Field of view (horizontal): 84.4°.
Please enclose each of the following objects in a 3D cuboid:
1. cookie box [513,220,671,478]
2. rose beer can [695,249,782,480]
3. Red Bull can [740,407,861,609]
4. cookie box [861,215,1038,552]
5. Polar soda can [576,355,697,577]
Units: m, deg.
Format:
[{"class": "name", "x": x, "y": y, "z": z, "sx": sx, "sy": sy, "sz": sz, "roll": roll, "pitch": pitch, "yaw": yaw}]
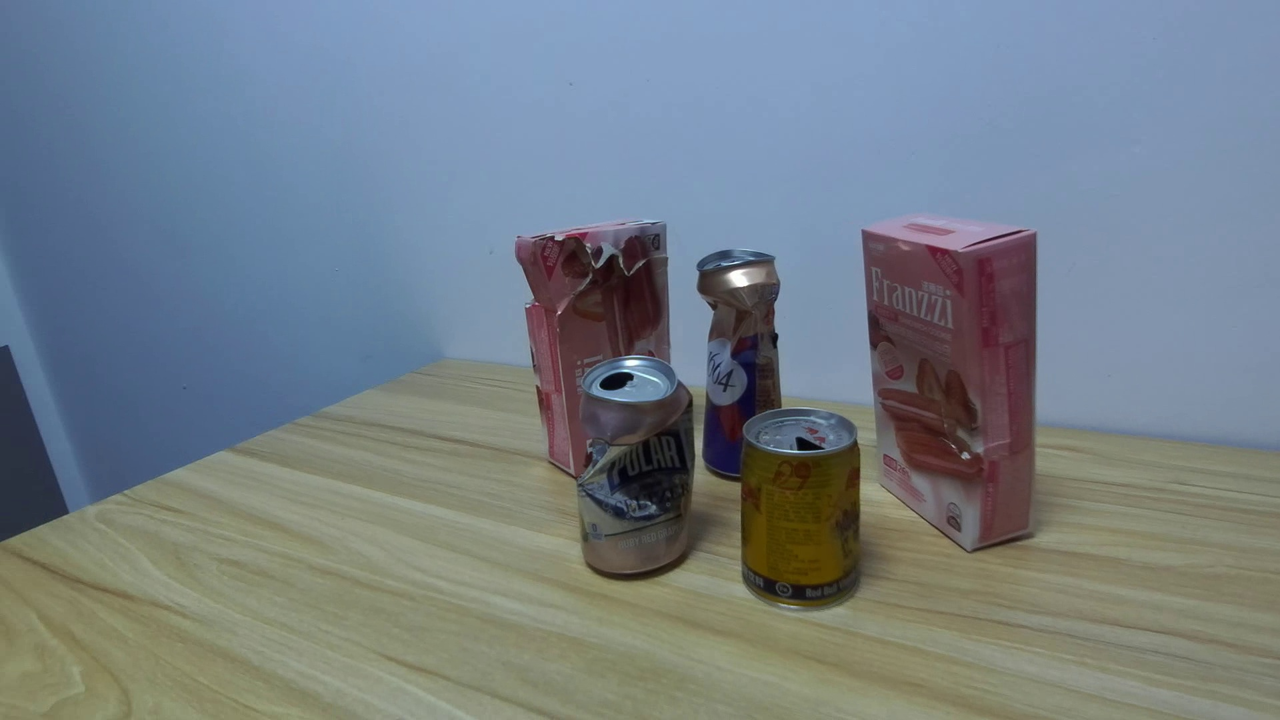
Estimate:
[{"class": "cookie box", "x": -0.027, "y": -0.009, "z": 0.545, "sx": 0.105, "sy": 0.186, "sz": 0.059, "roll": -16, "pitch": 20, "yaw": -28}, {"class": "rose beer can", "x": 0.076, "y": 0.004, "z": 0.515, "sx": 0.073, "sy": 0.162, "sz": 0.068, "roll": 9, "pitch": 22, "yaw": 41}, {"class": "Red Bull can", "x": 0.088, "y": 0.079, "z": 0.387, "sx": 0.069, "sy": 0.092, "sz": 0.069, "roll": -4, "pitch": 18, "yaw": 2}, {"class": "cookie box", "x": 0.187, "y": 0.014, "z": 0.424, "sx": 0.049, "sy": 0.188, "sz": 0.105, "roll": -14, "pitch": 19, "yaw": -10}, {"class": "Polar soda can", "x": -0.004, "y": 0.065, "z": 0.414, "sx": 0.066, "sy": 0.122, "sz": 0.071, "roll": 6, "pitch": 19, "yaw": 18}]
